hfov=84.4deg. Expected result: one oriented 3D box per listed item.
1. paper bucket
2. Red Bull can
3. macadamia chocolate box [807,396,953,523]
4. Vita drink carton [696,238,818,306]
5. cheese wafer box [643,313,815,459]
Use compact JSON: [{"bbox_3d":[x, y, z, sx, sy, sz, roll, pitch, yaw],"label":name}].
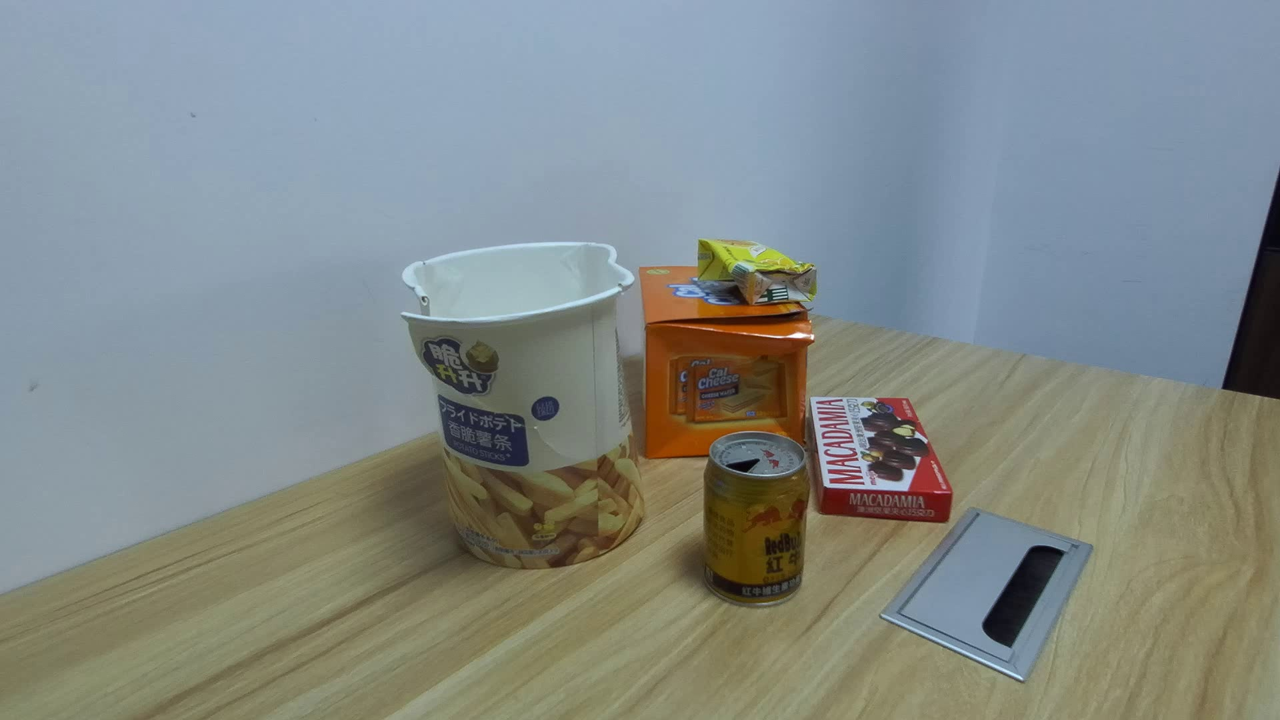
[{"bbox_3d":[-0.074,0.028,0.510,0.146,0.197,0.202,-8,21,-12],"label":"paper bucket"},{"bbox_3d":[0.073,0.099,0.451,0.068,0.093,0.068,-2,21,1],"label":"Red Bull can"},{"bbox_3d":[0.197,0.078,0.606,0.095,0.027,0.178,1,20,10],"label":"macadamia chocolate box"},{"bbox_3d":[0.106,-0.081,0.657,0.087,0.042,0.108,-1,20,-25],"label":"Vita drink carton"},{"bbox_3d":[0.074,-0.010,0.702,0.150,0.137,0.227,-1,19,-2],"label":"cheese wafer box"}]
